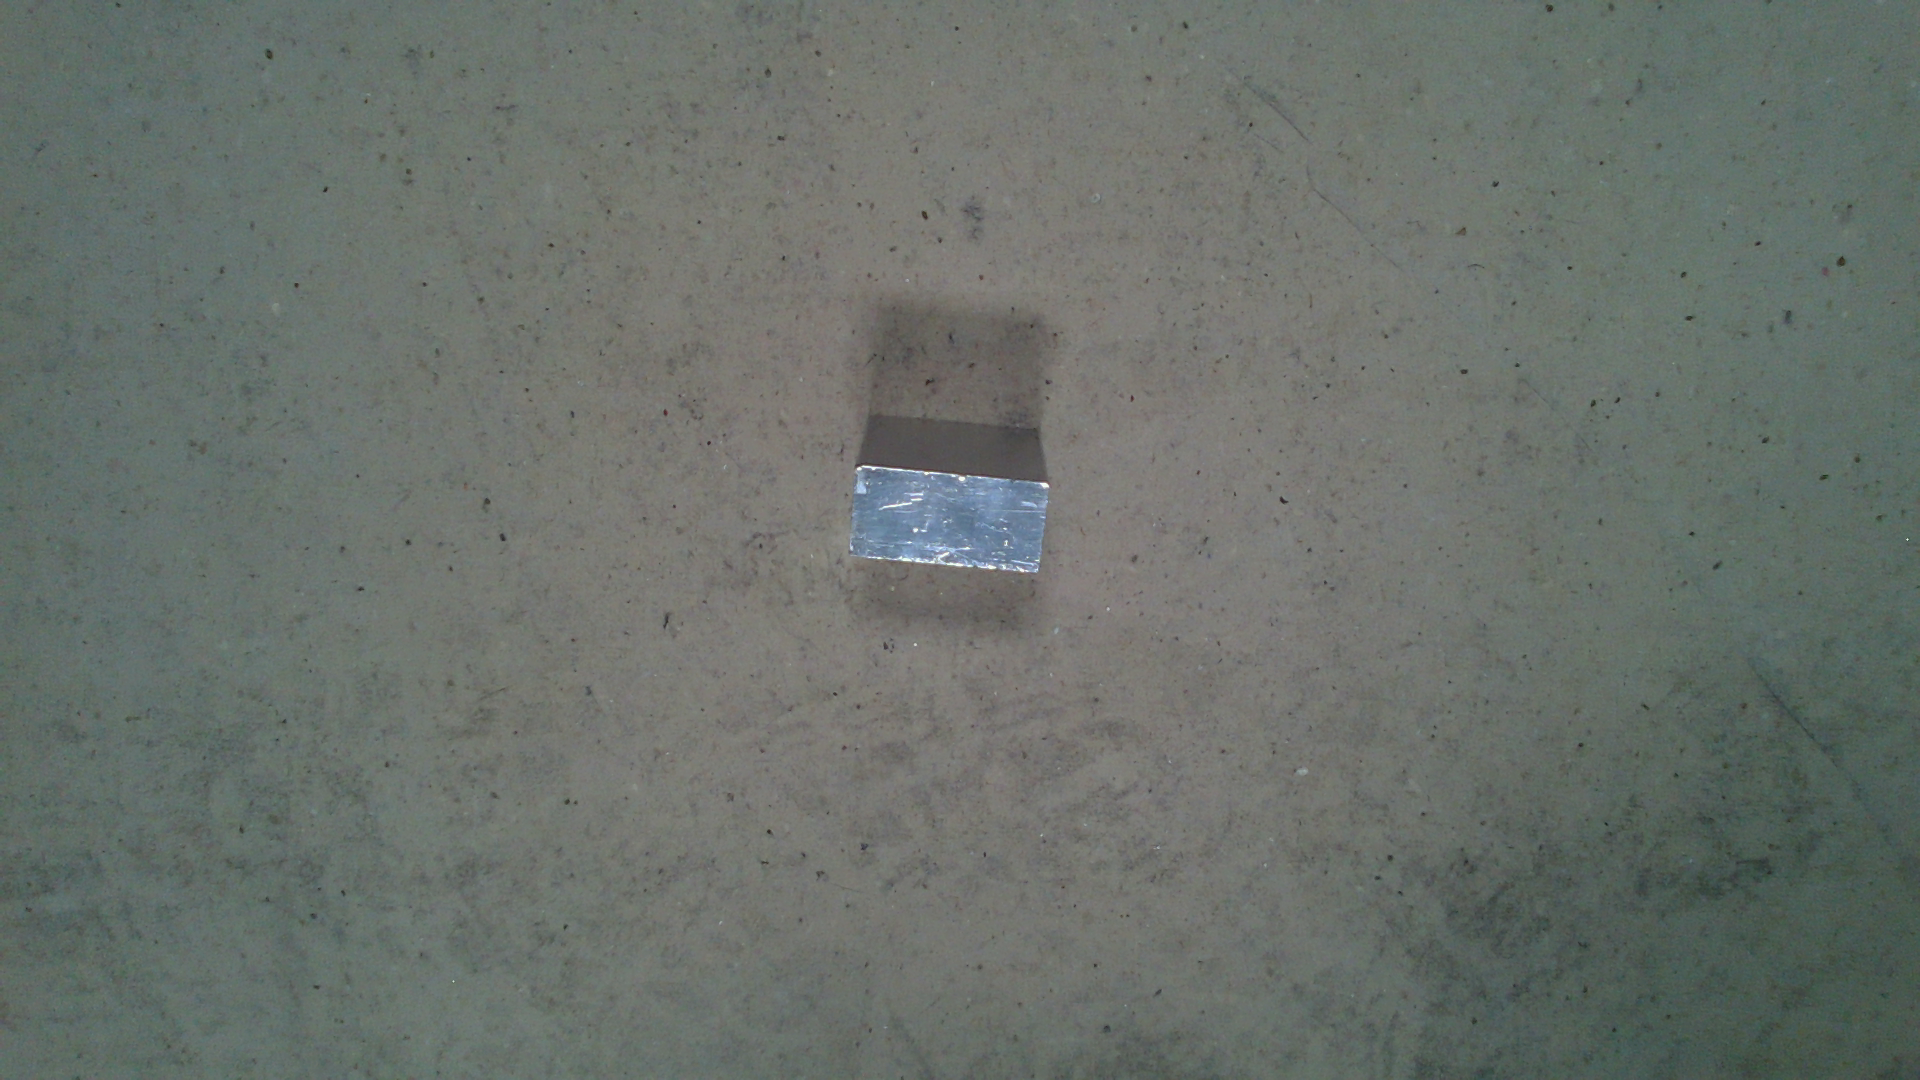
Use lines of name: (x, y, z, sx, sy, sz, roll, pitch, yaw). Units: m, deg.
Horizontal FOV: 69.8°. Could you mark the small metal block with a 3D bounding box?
small metal block: (-0.002, -0.014, 0.375, 0.050, 0.050, 0.025, 5, 110, -2)
